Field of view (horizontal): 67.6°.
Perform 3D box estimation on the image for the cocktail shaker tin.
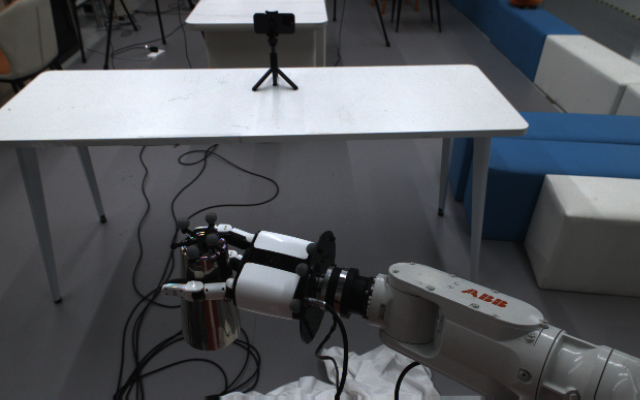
[{"bbox_3d":[-0.167,0.132,0.732,0.093,0.170,0.093,2,33,-2],"label":"cocktail shaker tin"}]
